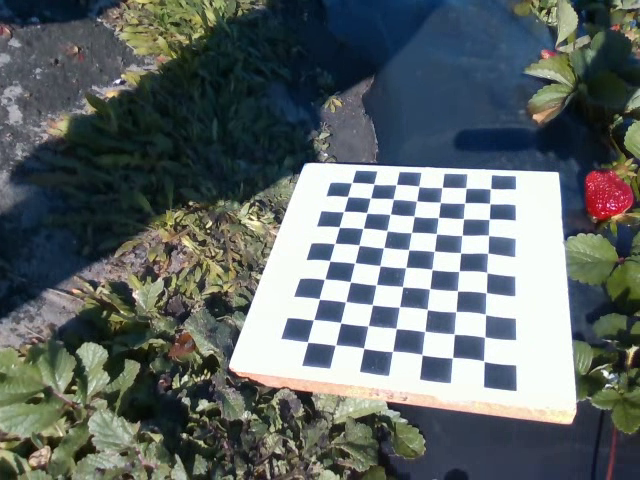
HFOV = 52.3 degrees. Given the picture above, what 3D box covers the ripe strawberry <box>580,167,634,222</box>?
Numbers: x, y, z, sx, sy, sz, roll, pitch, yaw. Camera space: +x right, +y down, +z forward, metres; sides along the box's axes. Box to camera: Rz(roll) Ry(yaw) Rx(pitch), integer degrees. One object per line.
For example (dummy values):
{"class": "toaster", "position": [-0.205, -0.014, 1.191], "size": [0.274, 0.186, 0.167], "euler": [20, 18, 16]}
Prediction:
{"class": "ripe strawberry", "position": [0.281, -0.049, 0.638], "size": [0.065, 0.062, 0.058], "euler": [-32, 19, -19]}
